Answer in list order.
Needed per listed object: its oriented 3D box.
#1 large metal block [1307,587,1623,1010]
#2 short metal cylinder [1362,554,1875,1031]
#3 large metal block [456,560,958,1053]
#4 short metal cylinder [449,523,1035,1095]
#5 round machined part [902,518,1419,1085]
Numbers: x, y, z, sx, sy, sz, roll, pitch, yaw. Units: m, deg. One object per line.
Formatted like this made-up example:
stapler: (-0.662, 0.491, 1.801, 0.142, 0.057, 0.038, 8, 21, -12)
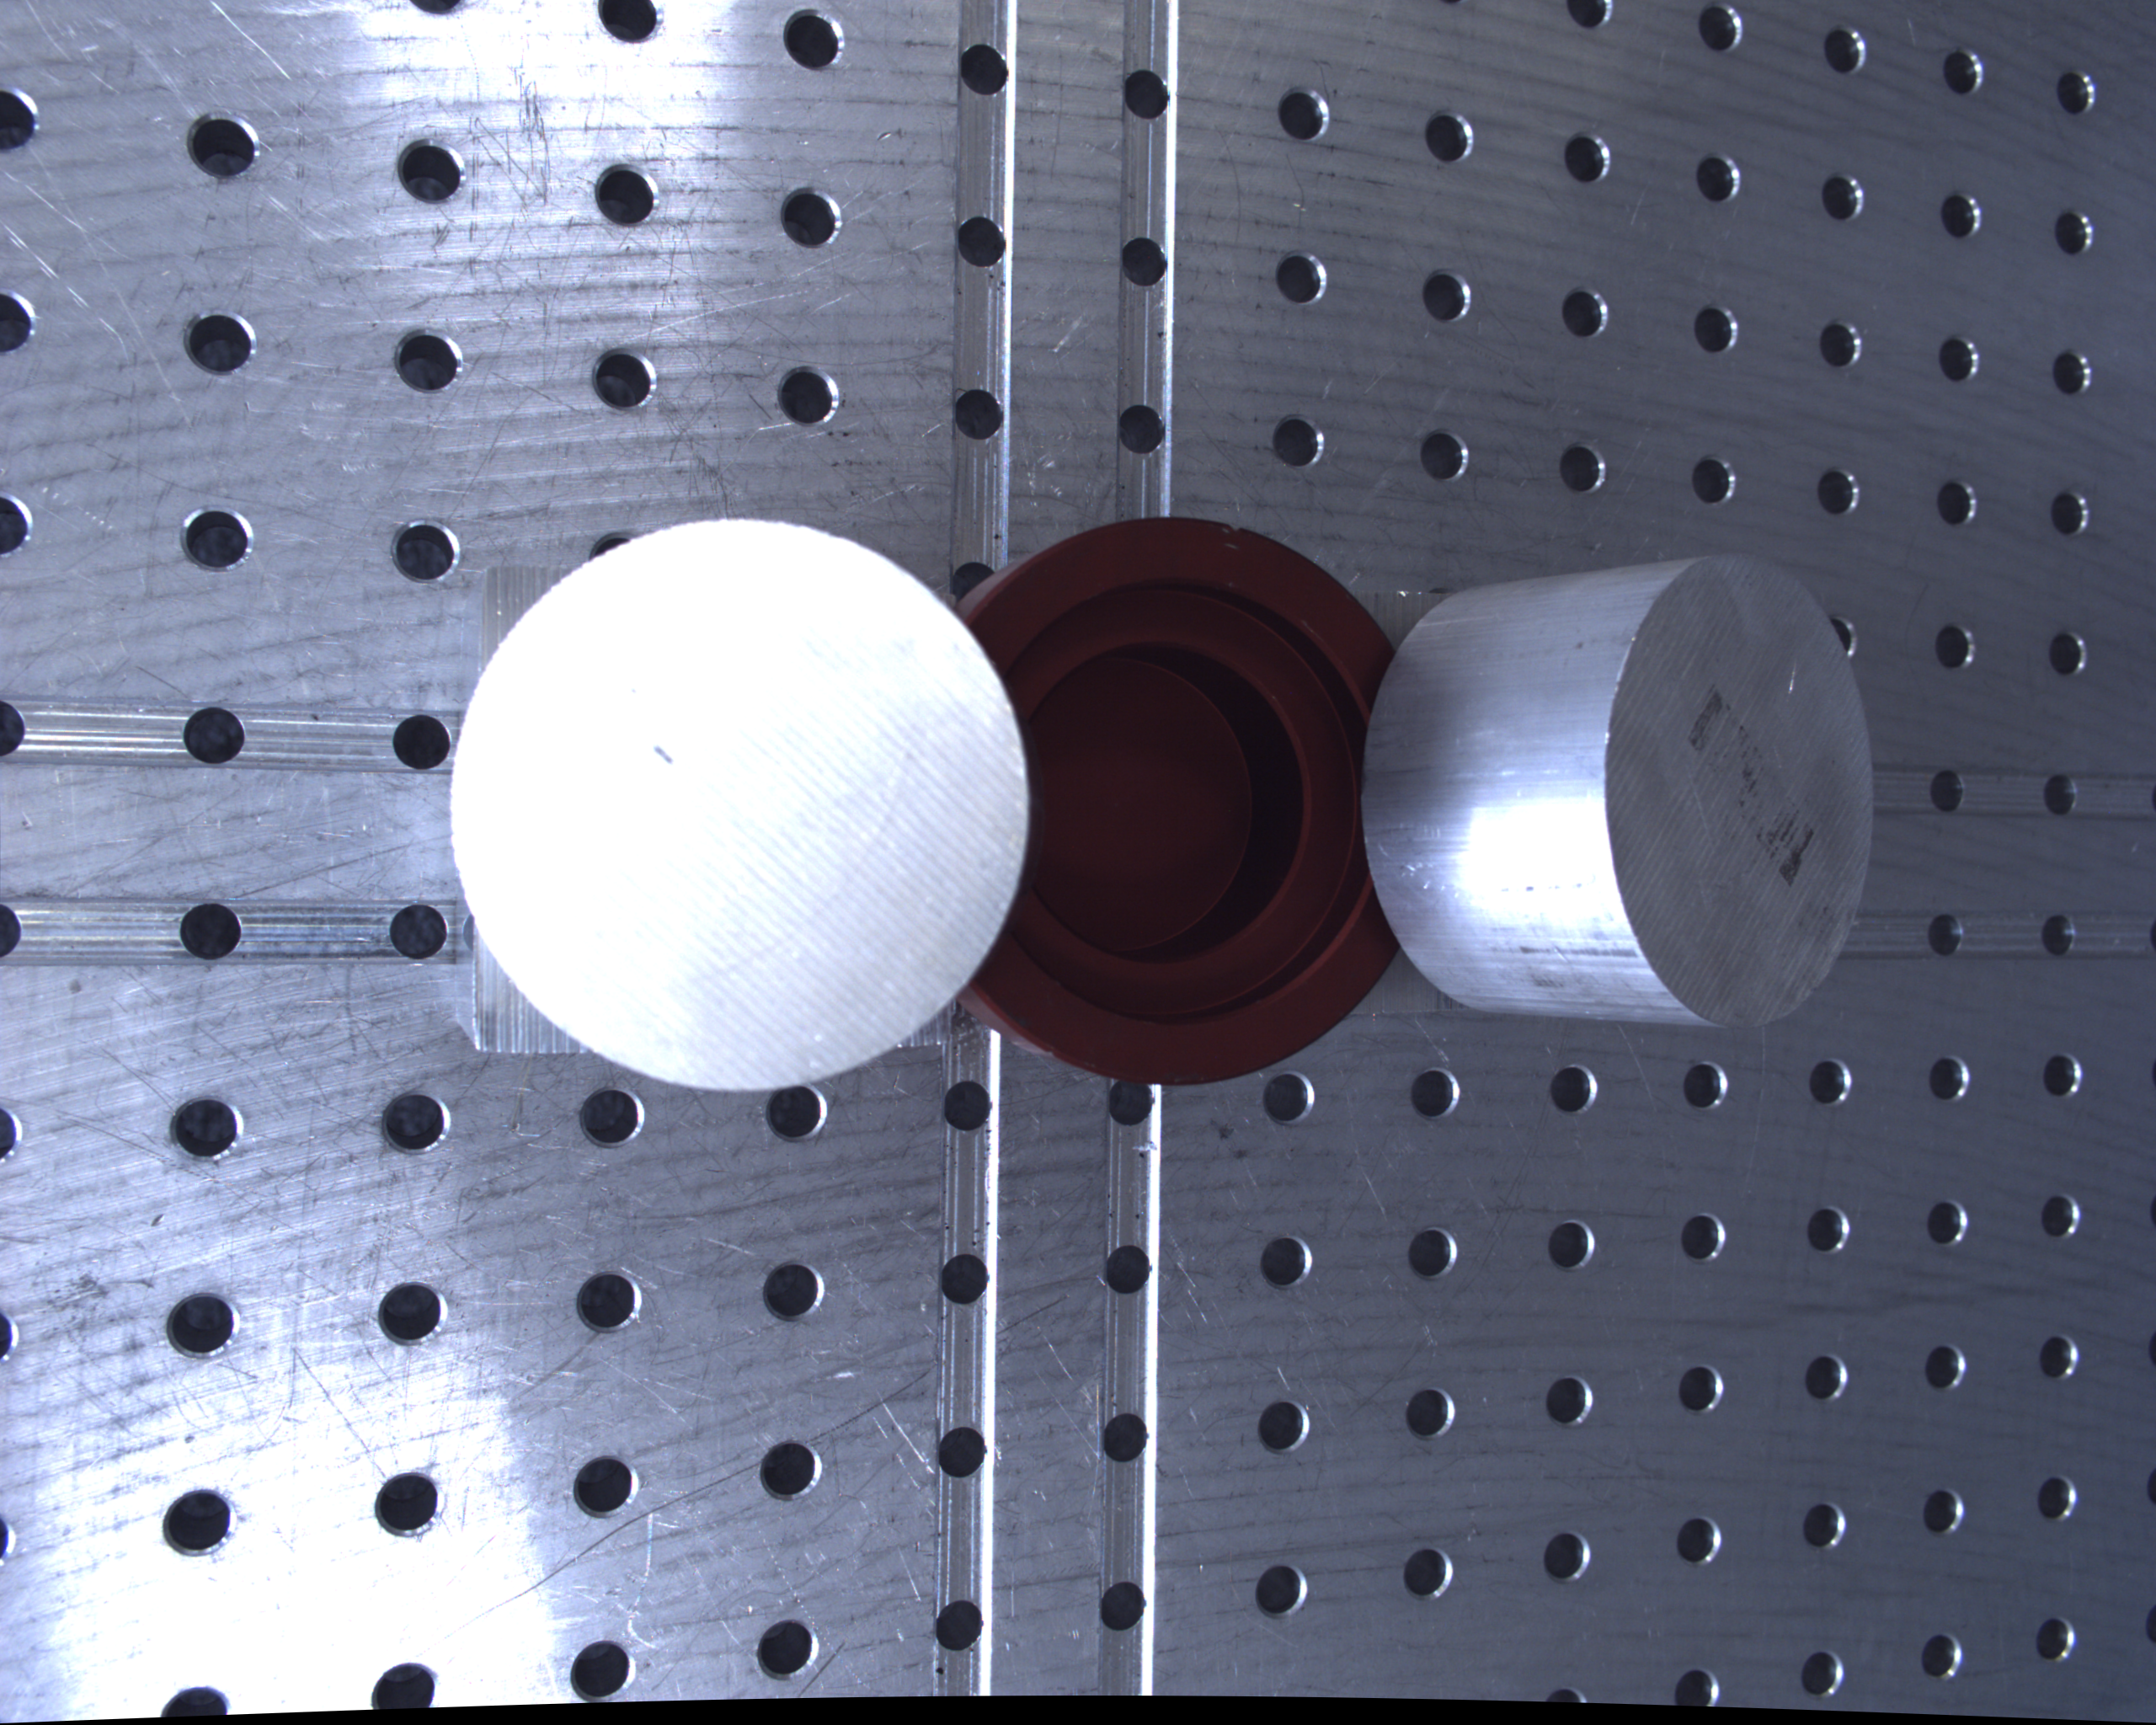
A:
large metal block: (0.073, -0.013, 0.426, 0.081, 0.050, 0.080, -1, 91, -20)
short metal cylinder: (0.096, -0.012, 0.368, 0.081, 0.050, 0.080, 0, 90, -40)
large metal block: (-0.068, -0.009, 0.374, 0.081, 0.050, 0.080, 1, 90, -20)
short metal cylinder: (-0.047, -0.008, 0.315, 0.080, 0.050, 0.079, 0, 91, 1)
round machined part: (0.011, -0.011, 0.376, 0.099, 0.042, 0.097, 0, 90, -20)
